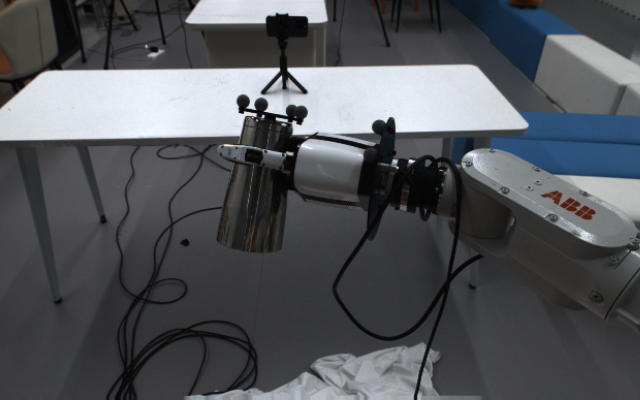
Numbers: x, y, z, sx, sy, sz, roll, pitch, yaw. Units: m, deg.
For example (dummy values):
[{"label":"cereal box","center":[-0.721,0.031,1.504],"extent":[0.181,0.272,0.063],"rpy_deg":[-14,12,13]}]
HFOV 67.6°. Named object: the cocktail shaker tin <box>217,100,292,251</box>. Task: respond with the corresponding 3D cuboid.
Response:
[{"label":"cocktail shaker tin","center":[-0.080,-0.026,0.659],"extent":[0.093,0.170,0.093],"rpy_deg":[10,9,-2]}]
